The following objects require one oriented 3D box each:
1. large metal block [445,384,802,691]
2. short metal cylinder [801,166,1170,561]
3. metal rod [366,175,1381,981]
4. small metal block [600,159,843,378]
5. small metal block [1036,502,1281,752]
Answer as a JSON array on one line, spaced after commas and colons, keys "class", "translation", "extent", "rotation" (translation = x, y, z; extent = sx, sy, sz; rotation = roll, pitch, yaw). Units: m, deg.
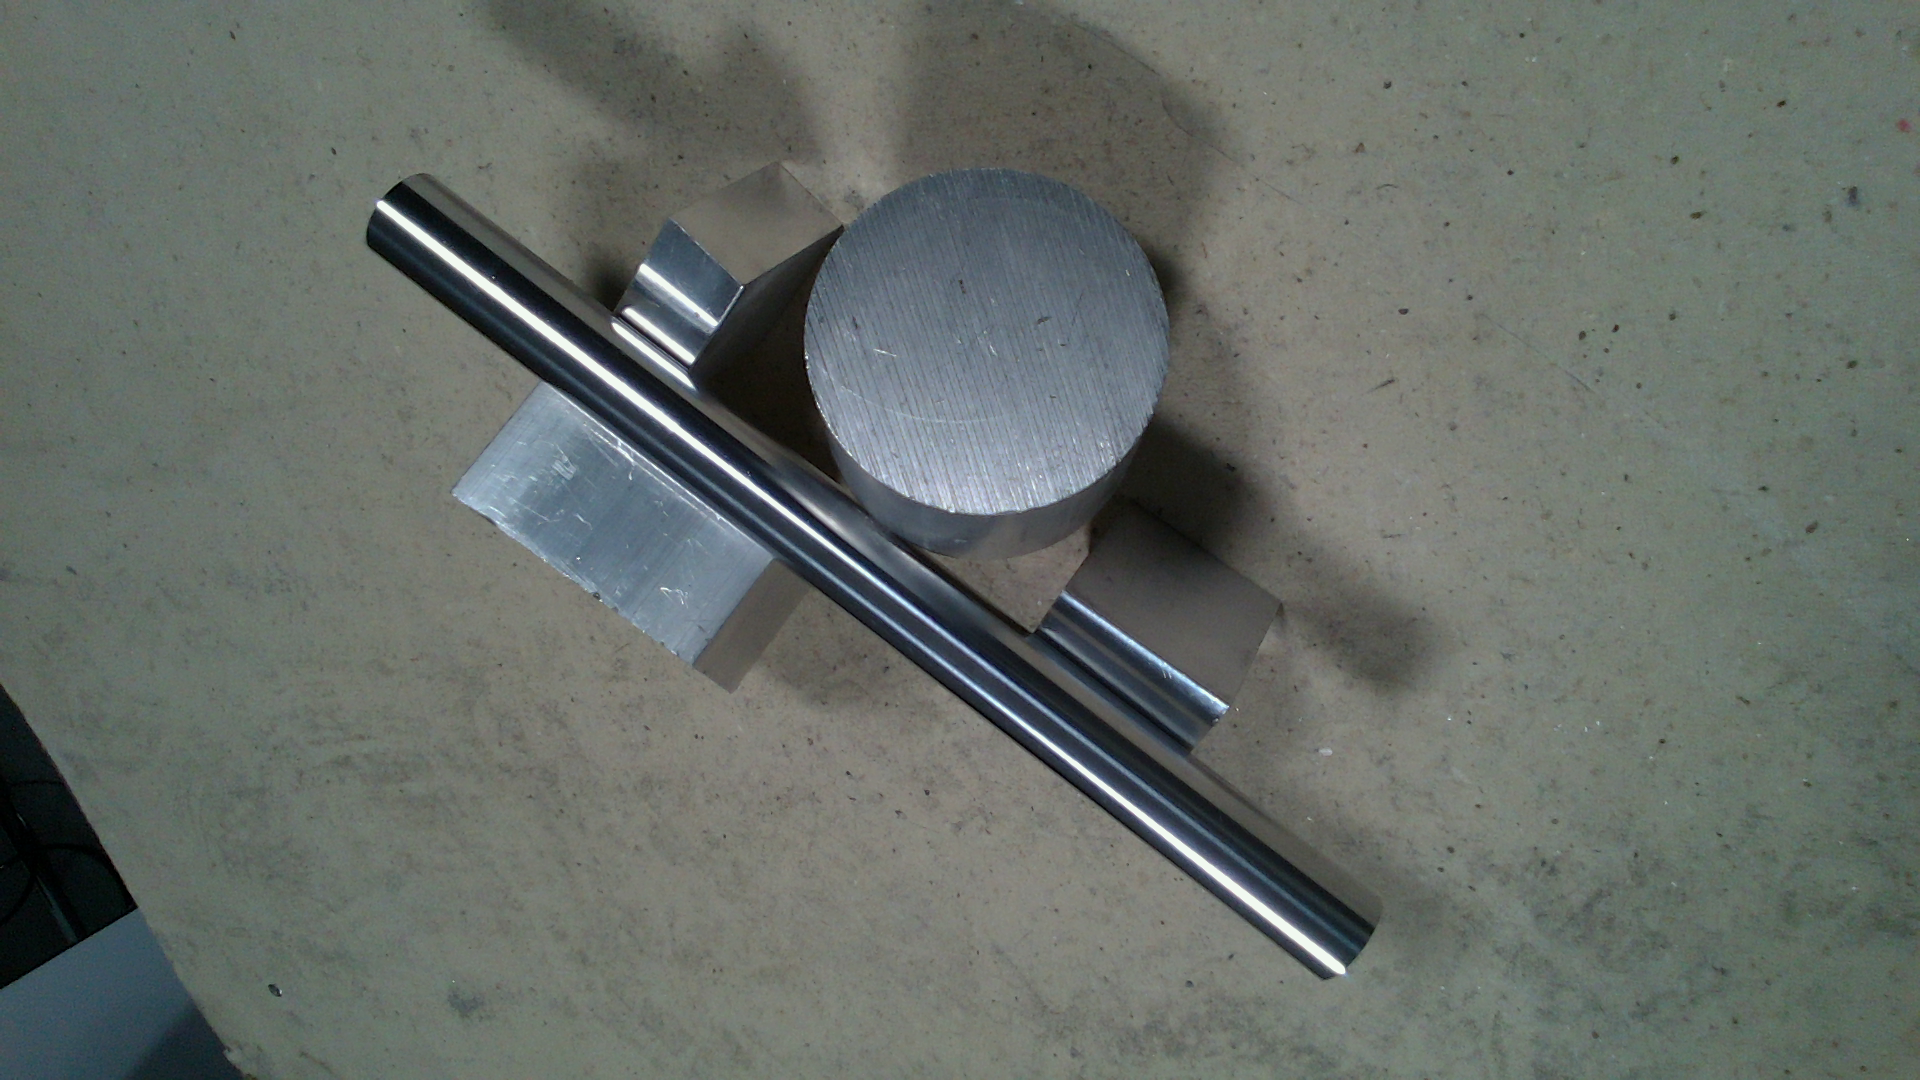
[{"class": "large metal block", "translation": [-0.089, -0.003, 0.400], "extent": [0.080, 0.050, 0.080], "rotation": [35, 170, 5]}, {"class": "short metal cylinder", "translation": [0.006, -0.039, 0.322], "extent": [0.080, 0.080, 0.050], "rotation": [34, 170, 6]}, {"class": "metal rod", "translation": [-0.024, 0.007, 0.346], "extent": [0.300, 0.025, 0.025], "rotation": [37, 129, 3]}, {"class": "small metal block", "translation": [-0.065, -0.069, 0.370], "extent": [0.025, 0.050, 0.050], "rotation": [43, 129, -2]}, {"class": "small metal block", "translation": [0.051, 0.024, 0.361], "extent": [0.050, 0.050, 0.025], "rotation": [35, 129, 5]}]
